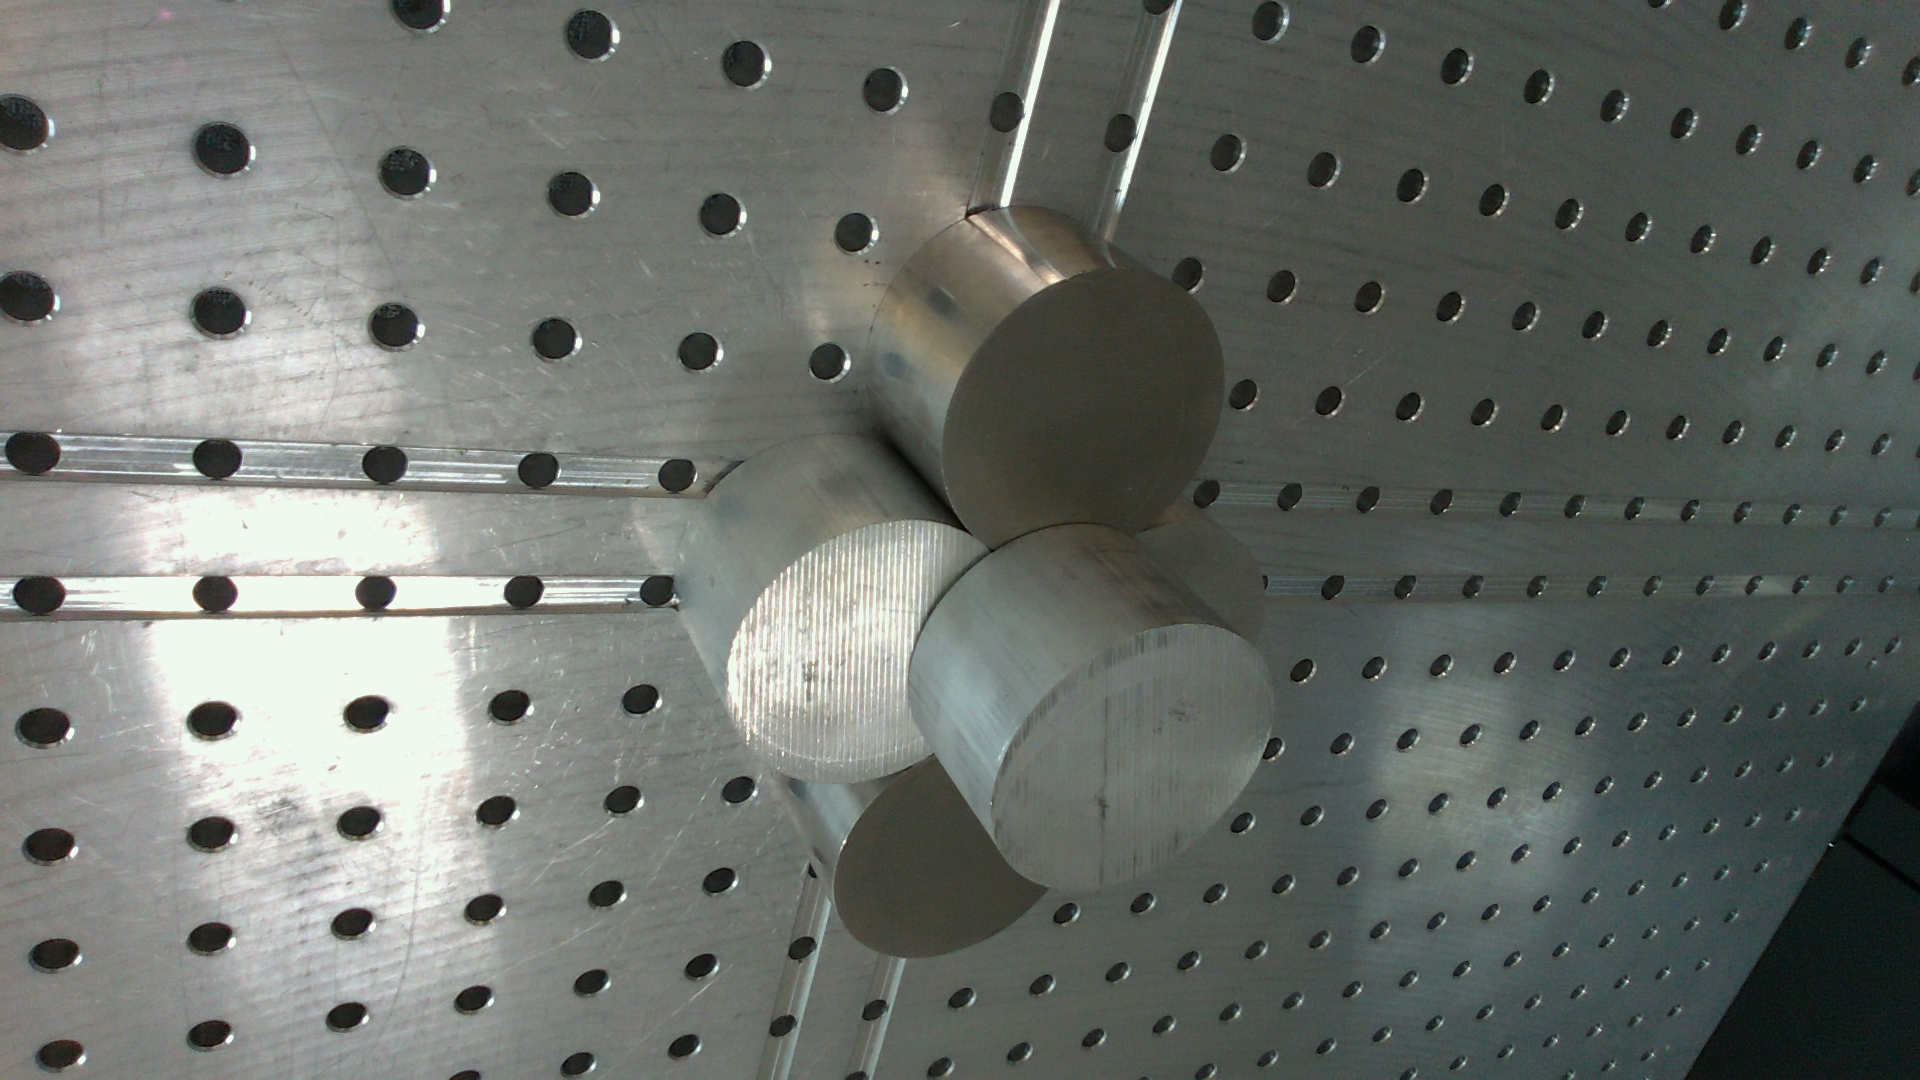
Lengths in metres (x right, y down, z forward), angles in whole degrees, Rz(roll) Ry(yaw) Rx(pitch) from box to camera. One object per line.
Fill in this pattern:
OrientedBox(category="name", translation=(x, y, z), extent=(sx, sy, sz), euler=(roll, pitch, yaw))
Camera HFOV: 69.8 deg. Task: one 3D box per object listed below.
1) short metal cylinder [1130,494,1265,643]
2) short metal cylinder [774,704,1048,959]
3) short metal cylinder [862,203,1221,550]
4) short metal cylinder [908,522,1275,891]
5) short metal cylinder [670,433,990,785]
OrientedBox(category="short metal cylinder", translation=(0.043, 0.019, 0.410), extent=(0.080, 0.050, 0.080), euler=(-14, 124, -21))
OrientedBox(category="short metal cylinder", translation=(-0.010, 0.079, 0.418), extent=(0.080, 0.050, 0.080), euler=(-13, 122, -22))
OrientedBox(category="short metal cylinder", translation=(0.021, -0.042, 0.362), extent=(0.080, 0.050, 0.080), euler=(-14, 125, -21))
OrientedBox(category="short metal cylinder", translation=(0.033, 0.042, 0.355), extent=(0.080, 0.050, 0.080), euler=(-14, 124, -21))
OrientedBox(category="short metal cylinder", translation=(-0.032, 0.018, 0.370), extent=(0.080, 0.050, 0.080), euler=(-14, 124, -21))
